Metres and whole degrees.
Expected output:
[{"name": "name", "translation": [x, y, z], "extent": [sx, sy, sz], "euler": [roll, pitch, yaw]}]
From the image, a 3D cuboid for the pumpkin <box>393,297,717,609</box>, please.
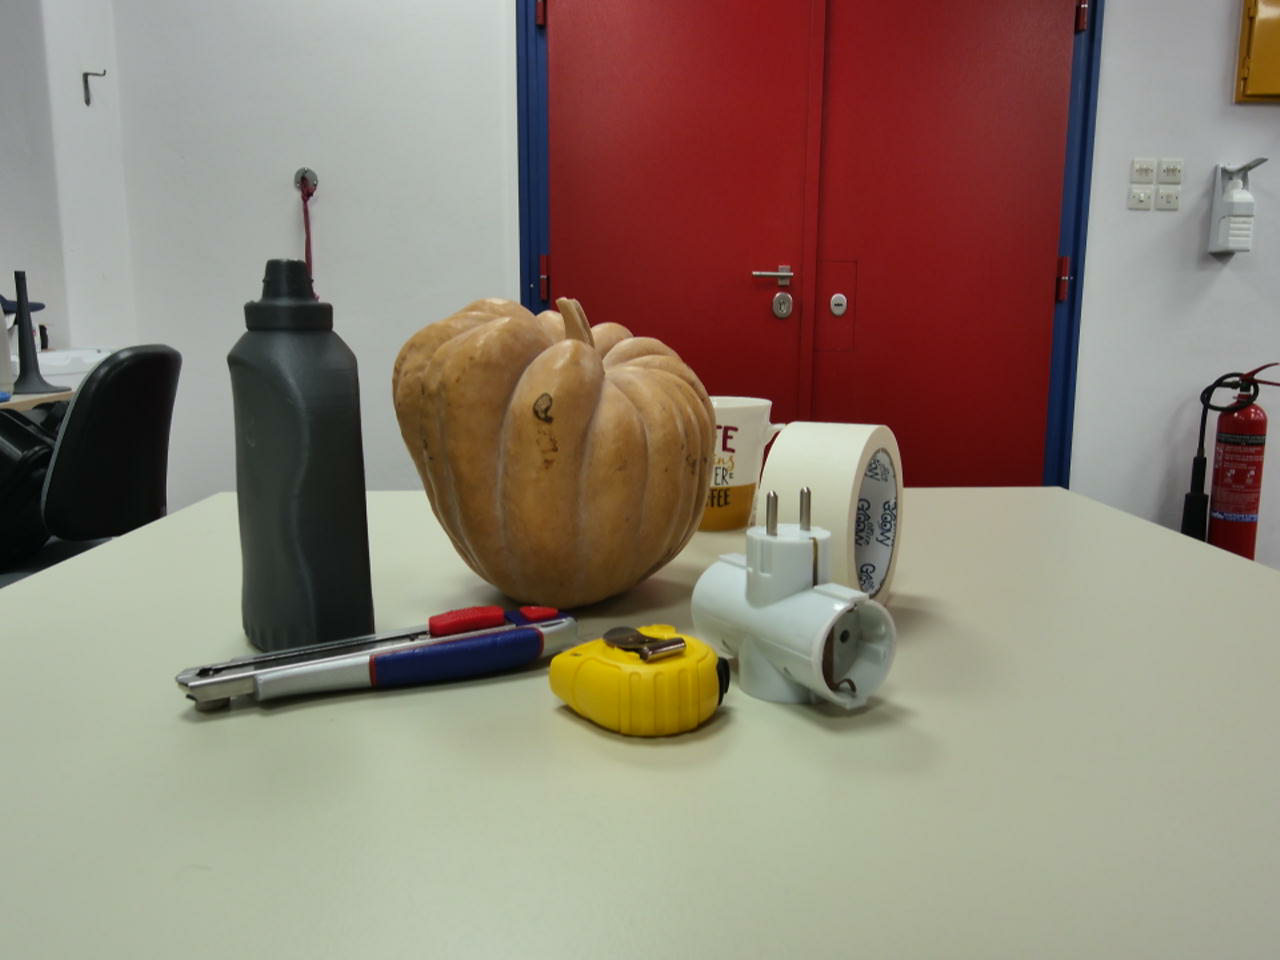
[{"name": "pumpkin", "translation": [-0.049, -0.018, 0.587], "extent": [0.199, 0.177, 0.198], "euler": [1, 8, 0]}]
